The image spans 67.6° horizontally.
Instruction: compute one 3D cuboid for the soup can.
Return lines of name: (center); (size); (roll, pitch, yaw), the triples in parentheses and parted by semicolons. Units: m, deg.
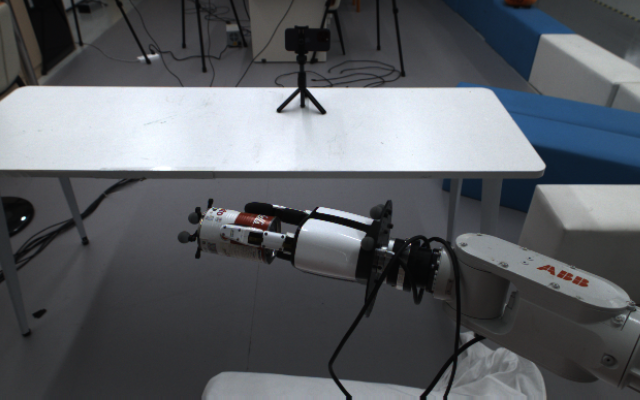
soup can: (-0.112, 0.050, 0.689); (0.101, 0.067, 0.067); (8, 35, 11)
